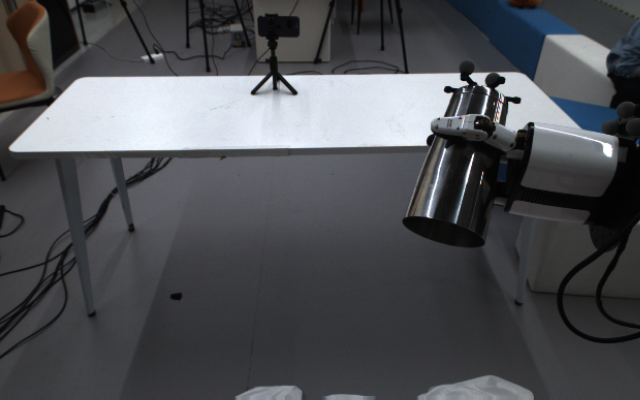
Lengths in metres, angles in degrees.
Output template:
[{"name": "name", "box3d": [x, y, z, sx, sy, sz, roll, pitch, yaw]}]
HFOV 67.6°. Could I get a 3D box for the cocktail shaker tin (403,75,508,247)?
[{"name": "cocktail shaker tin", "box3d": [0.164, -0.041, 0.553, 0.093, 0.093, 0.170, 15, 74, 18]}]
